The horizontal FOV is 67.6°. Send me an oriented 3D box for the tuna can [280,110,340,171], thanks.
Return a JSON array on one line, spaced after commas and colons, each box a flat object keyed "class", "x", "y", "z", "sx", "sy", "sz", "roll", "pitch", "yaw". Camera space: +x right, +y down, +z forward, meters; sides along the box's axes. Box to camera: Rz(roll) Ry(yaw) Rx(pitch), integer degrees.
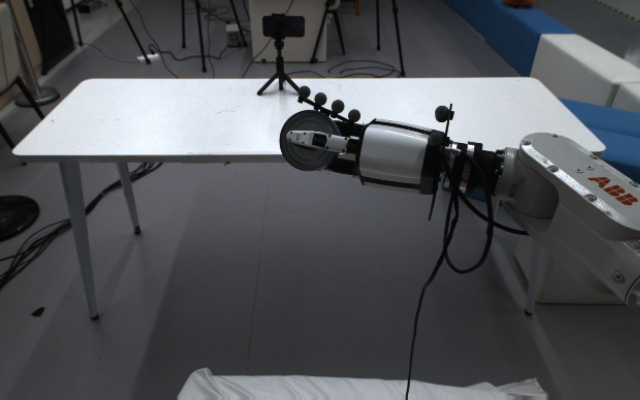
[{"class": "tuna can", "x": -0.011, "y": -0.084, "z": 0.692, "sx": 0.085, "sy": 0.085, "sz": 0.034, "roll": 10, "pitch": 5, "yaw": 11}]
